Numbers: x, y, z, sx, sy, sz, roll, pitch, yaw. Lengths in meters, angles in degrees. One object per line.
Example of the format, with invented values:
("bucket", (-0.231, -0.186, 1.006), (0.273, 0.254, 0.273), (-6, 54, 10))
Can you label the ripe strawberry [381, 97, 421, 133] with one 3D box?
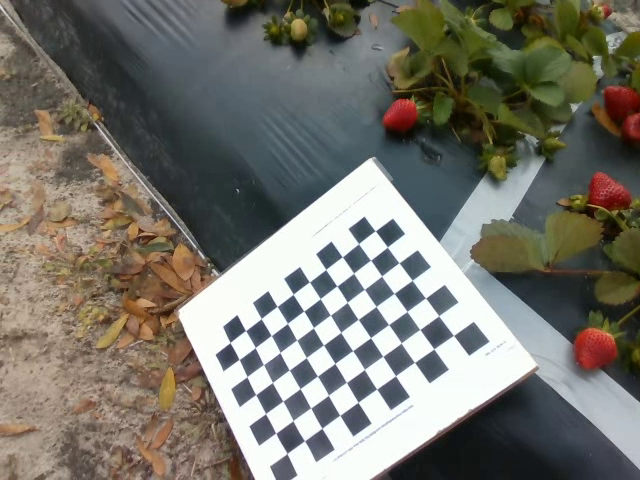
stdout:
("ripe strawberry", (0.087, -0.134, 0.762), (0.046, 0.040, 0.036), (-15, 35, -34))

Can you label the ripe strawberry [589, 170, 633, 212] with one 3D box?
("ripe strawberry", (0.296, -0.050, 0.730), (0.043, 0.062, 0.042), (-25, -38, 20))

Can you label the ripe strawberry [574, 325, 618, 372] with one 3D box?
("ripe strawberry", (0.238, 0.097, 0.625), (0.039, 0.047, 0.041), (10, -25, 38))
